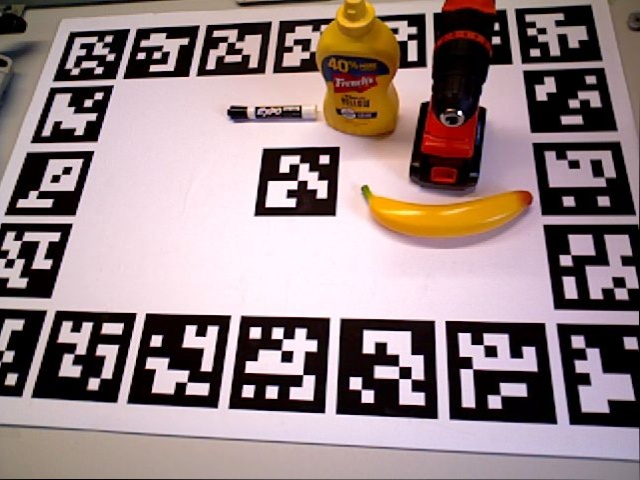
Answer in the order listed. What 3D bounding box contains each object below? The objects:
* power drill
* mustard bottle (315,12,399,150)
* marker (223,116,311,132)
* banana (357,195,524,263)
[{"bbox_3d":[0.142,-0.130,0.580,0.057,0.190,0.182,15,65,11],"label":"power drill"},{"bbox_3d":[0.044,-0.184,0.636,0.096,0.194,0.057,12,66,11],"label":"mustard bottle"},{"bbox_3d":[-0.072,-0.158,0.736,0.121,0.020,0.019,3,66,9],"label":"marker"},{"bbox_3d":[0.134,-0.009,0.634,0.197,0.039,0.073,8,68,13],"label":"banana"}]
